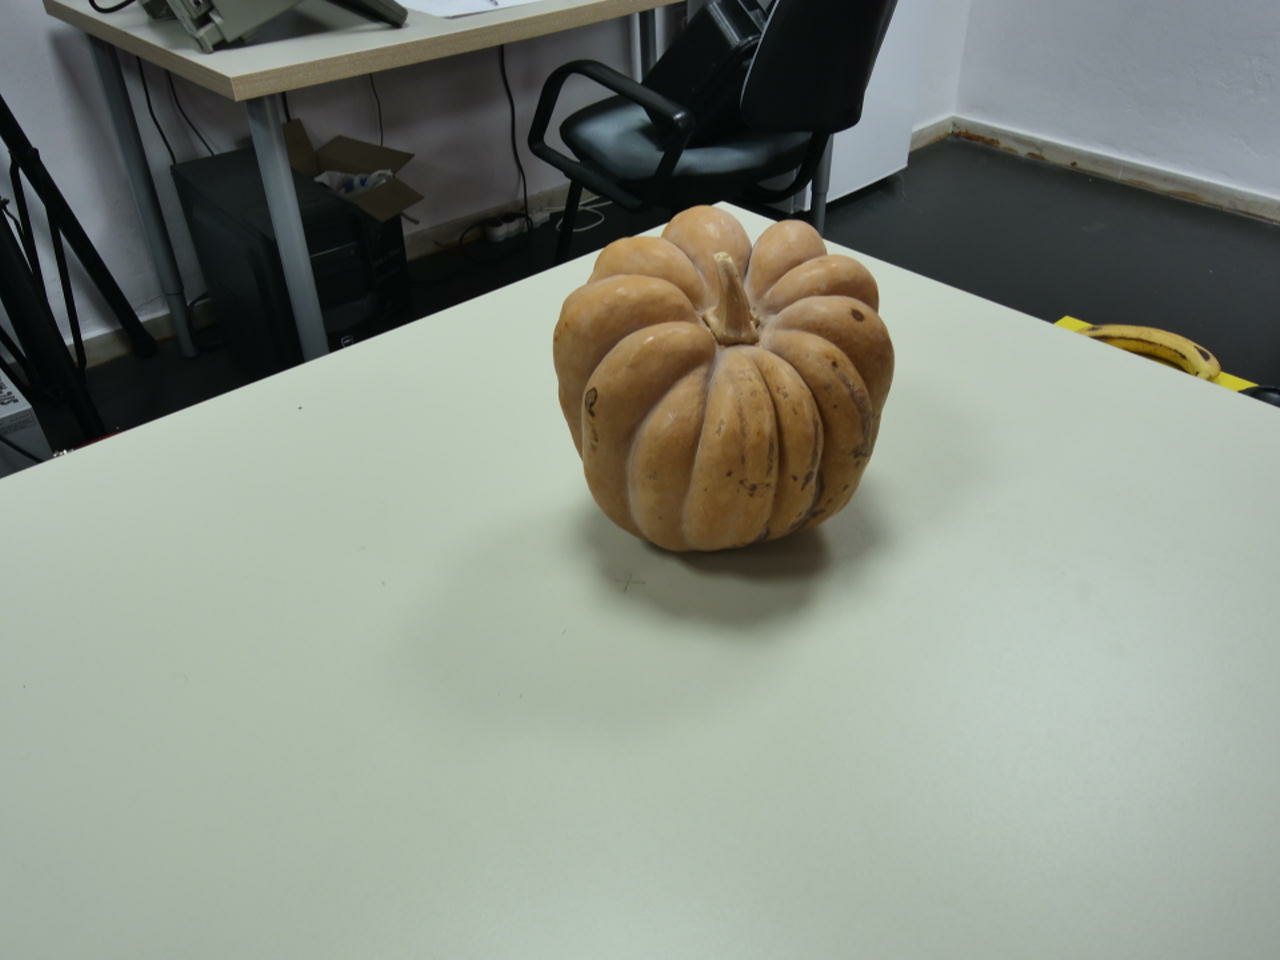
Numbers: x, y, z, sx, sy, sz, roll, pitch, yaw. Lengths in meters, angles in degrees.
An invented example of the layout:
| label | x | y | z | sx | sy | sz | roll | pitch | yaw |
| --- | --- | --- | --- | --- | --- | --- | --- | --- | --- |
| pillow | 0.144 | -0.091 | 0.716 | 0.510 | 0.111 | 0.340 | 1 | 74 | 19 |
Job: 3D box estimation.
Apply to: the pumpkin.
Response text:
| label | x | y | z | sx | sy | sz | roll | pitch | yaw |
| --- | --- | --- | --- | --- | --- | --- | --- | --- | --- |
| pumpkin | 0.046 | -0.053 | 0.577 | 0.199 | 0.177 | 0.198 | -1 | 36 | 0 |
